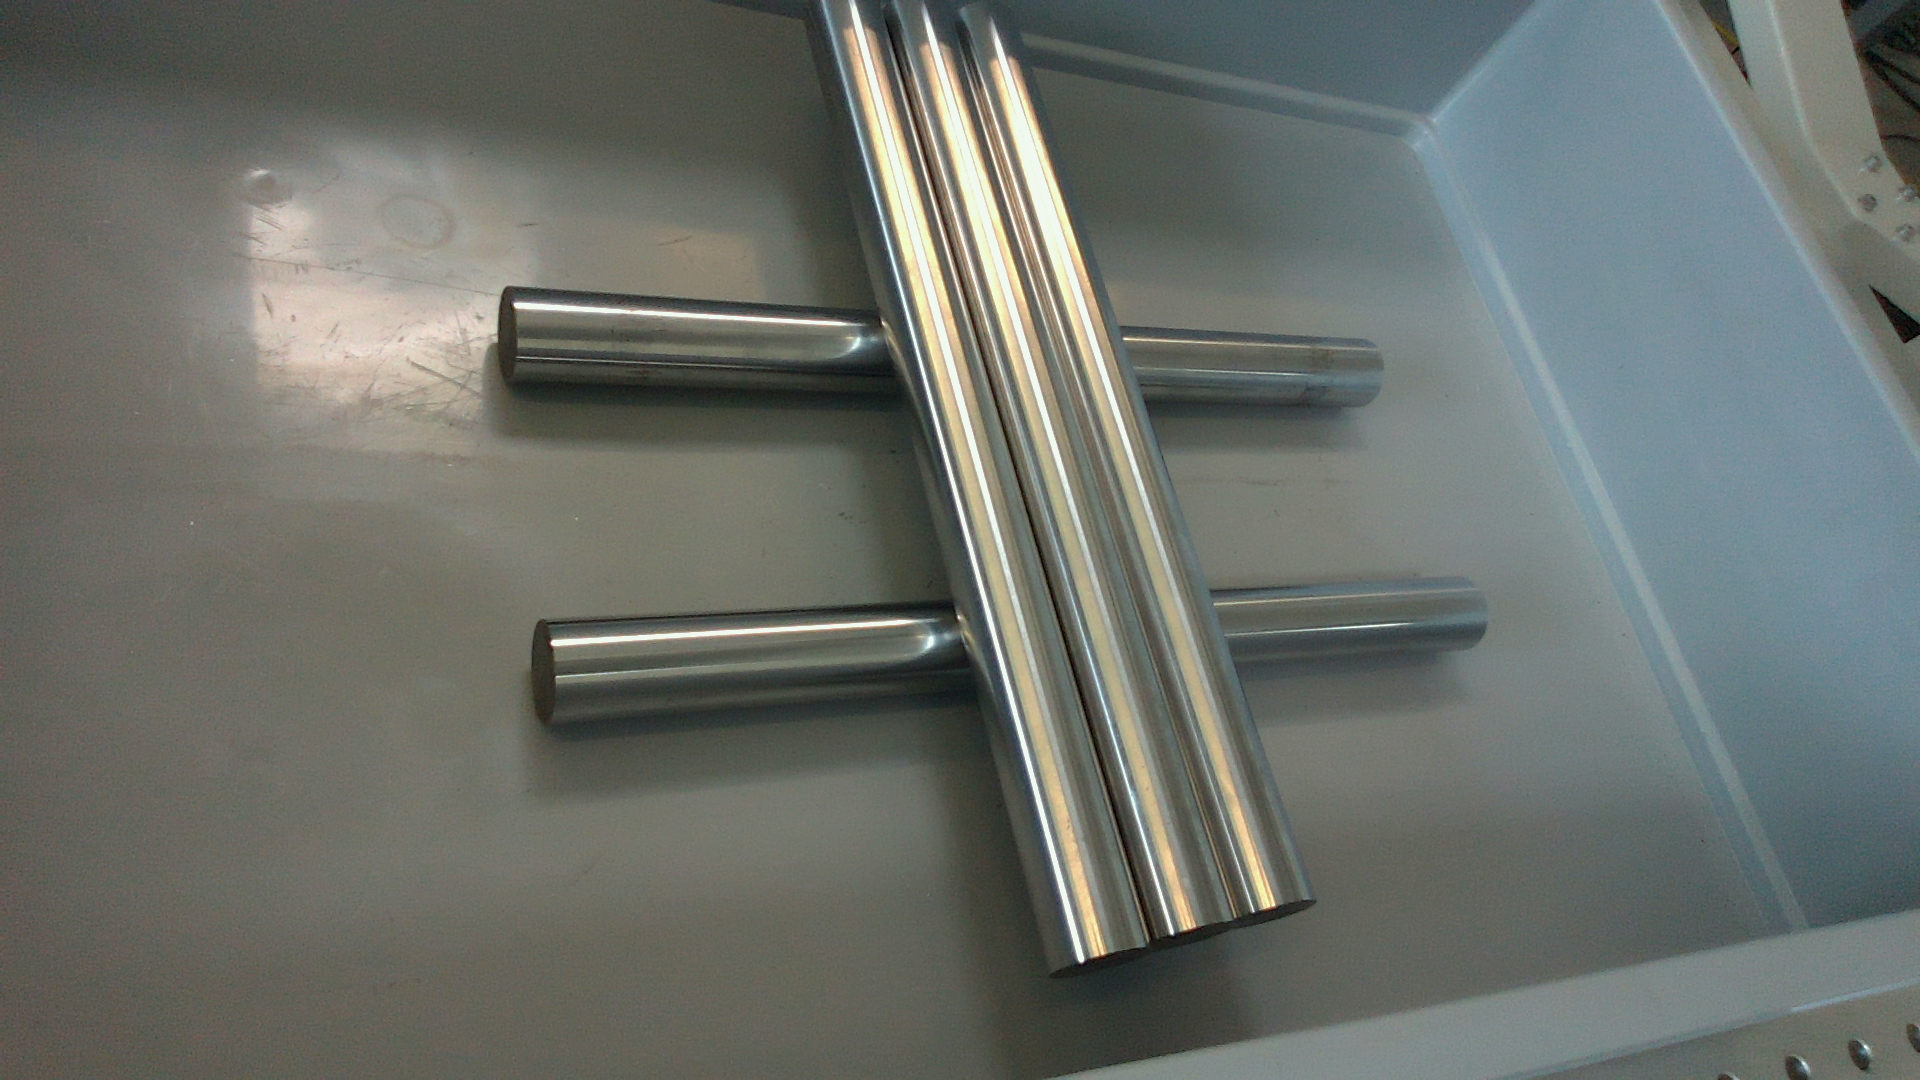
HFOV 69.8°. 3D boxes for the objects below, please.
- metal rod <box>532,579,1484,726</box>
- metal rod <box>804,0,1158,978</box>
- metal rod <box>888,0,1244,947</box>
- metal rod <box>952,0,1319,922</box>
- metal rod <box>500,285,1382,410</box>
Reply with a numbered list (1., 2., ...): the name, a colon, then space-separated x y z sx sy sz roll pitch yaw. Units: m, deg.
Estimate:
1. metal rod: 0.035 0.028 0.391 0.301 0.025 0.025 -1 62 -29
2. metal rod: -0.002 -0.035 0.376 0.025 0.025 0.300 -1 62 -29
3. metal rod: 0.020 -0.038 0.389 0.025 0.025 0.300 -1 62 -29
4. metal rod: 0.041 -0.040 0.402 0.025 0.025 0.300 -1 62 -29
5. metal rod: 0.013 -0.057 0.431 0.301 0.025 0.025 -1 62 -29
